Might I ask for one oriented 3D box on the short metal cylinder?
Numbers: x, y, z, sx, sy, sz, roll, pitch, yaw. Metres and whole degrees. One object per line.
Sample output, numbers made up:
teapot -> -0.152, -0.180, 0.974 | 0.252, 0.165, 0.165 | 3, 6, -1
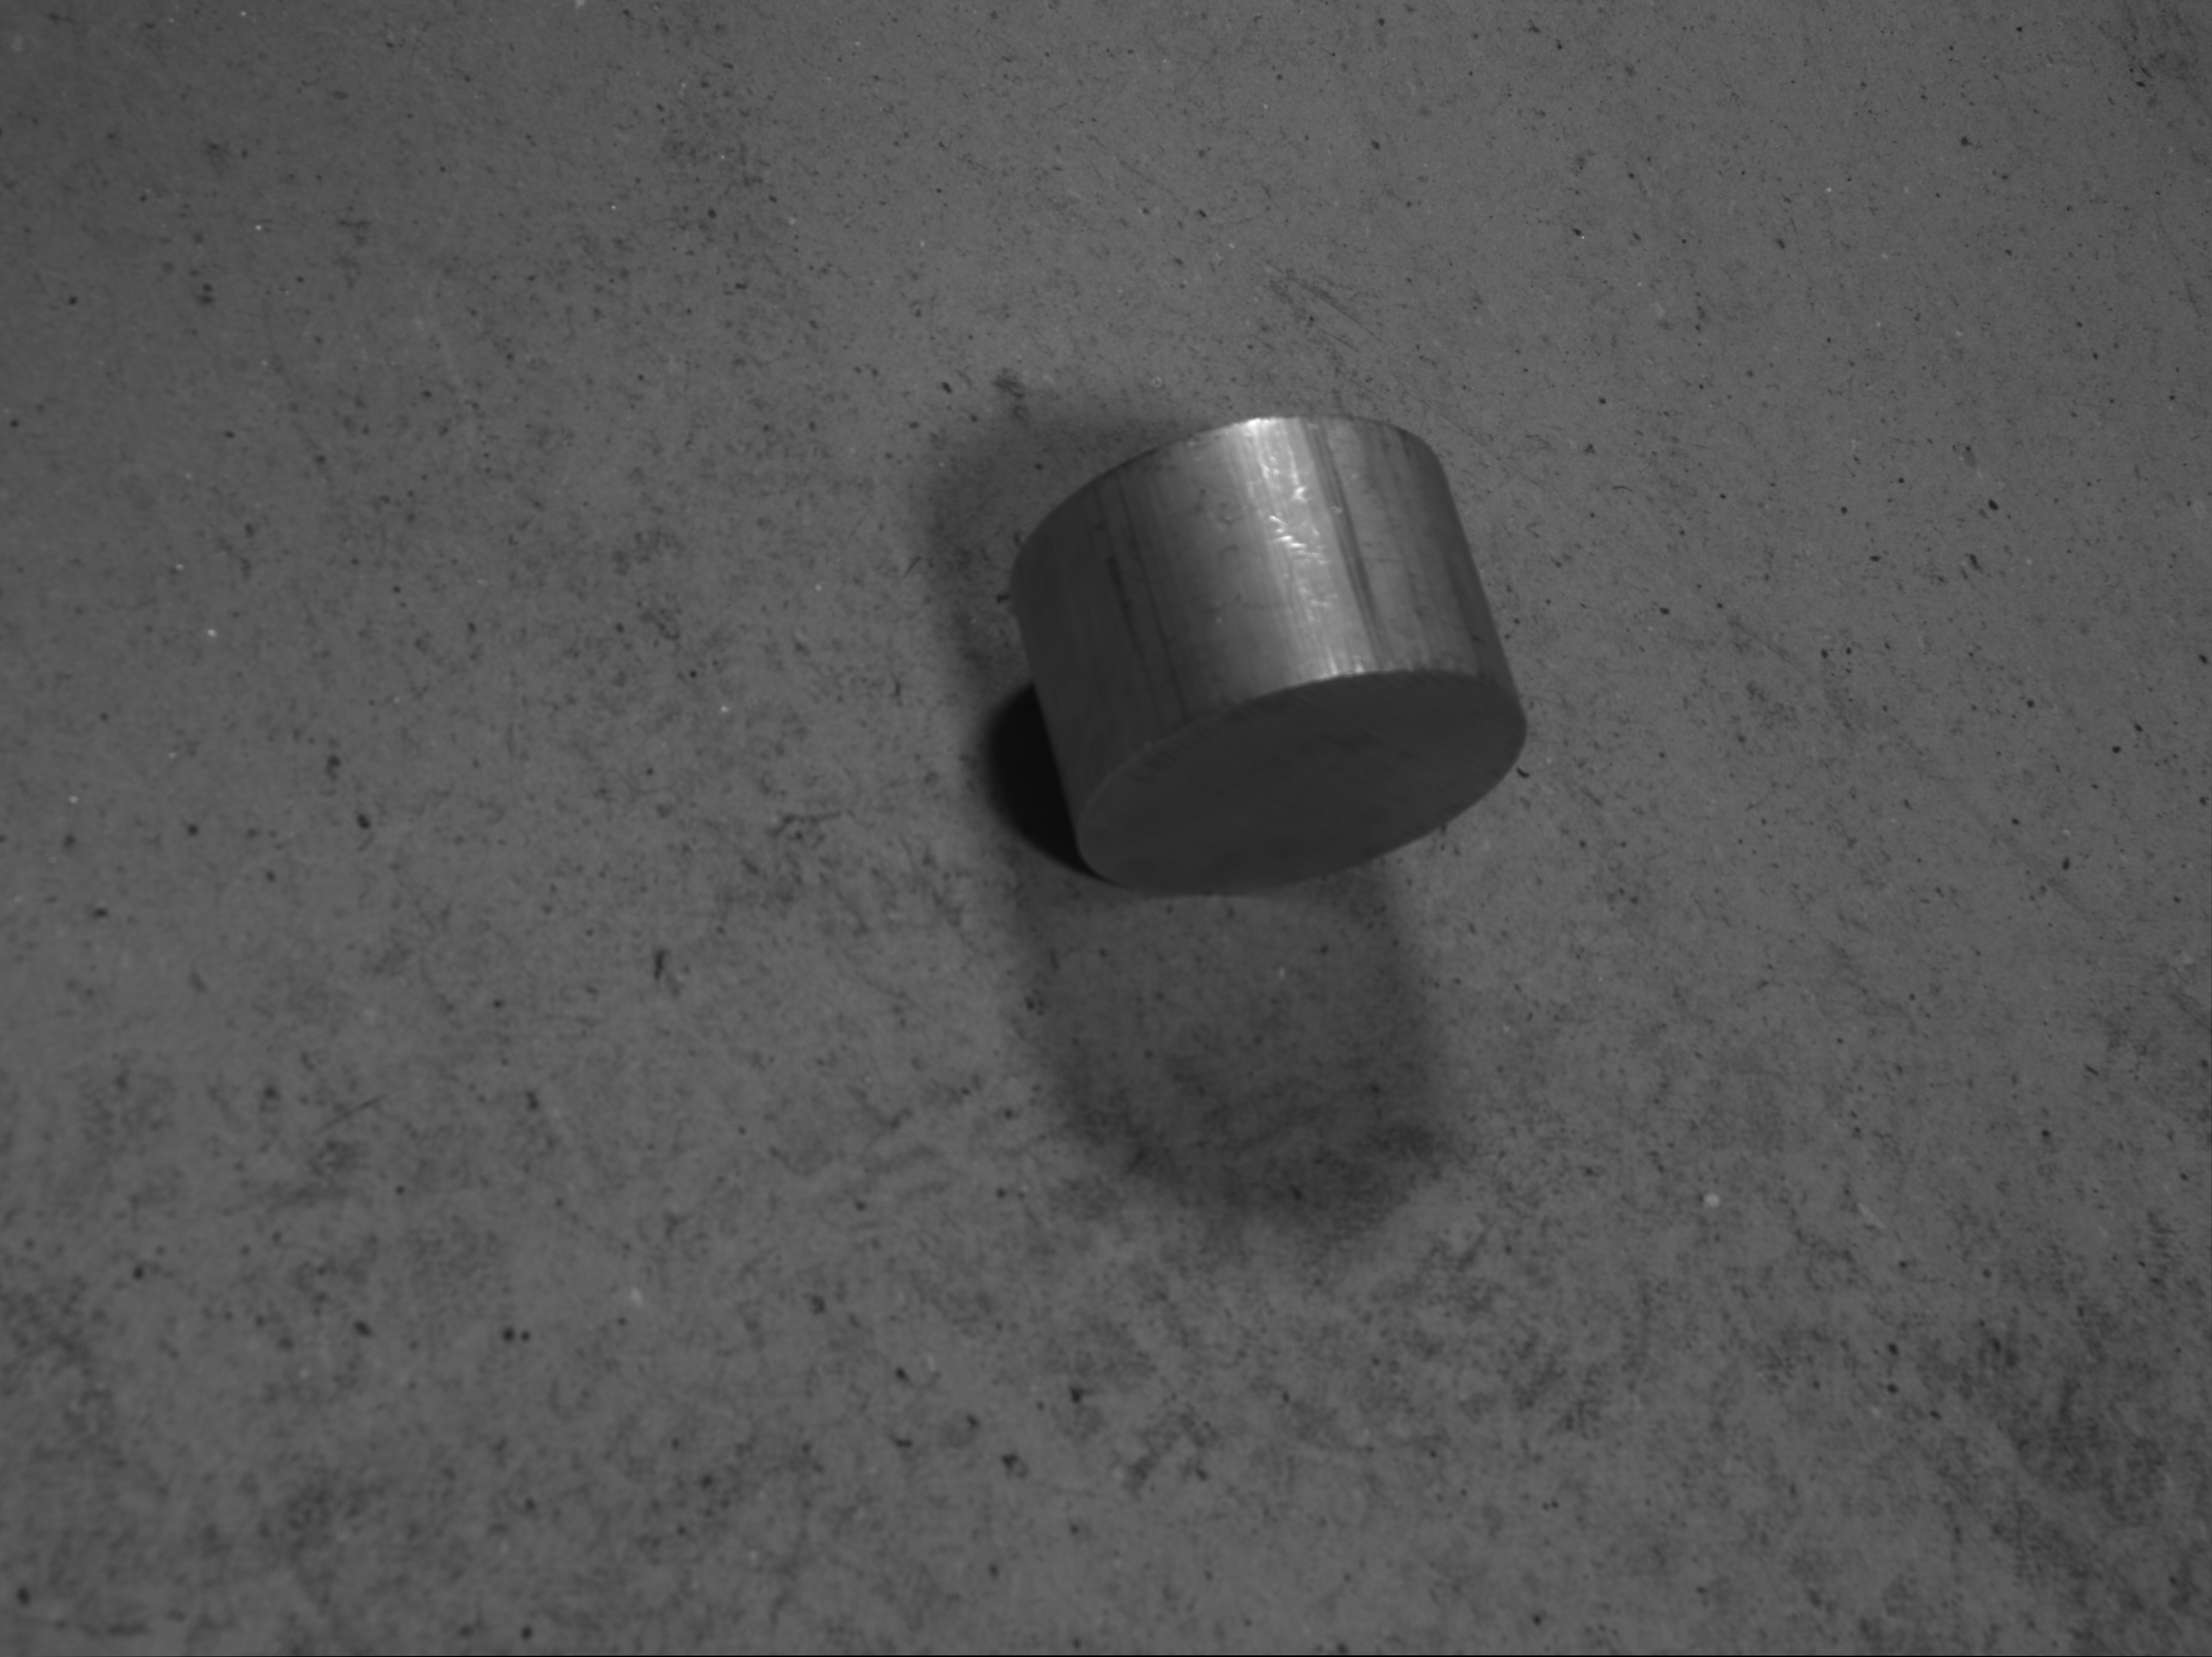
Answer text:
short metal cylinder -> 0.030, -0.029, 0.639 | 0.080, 0.080, 0.050 | -1, 62, -29
